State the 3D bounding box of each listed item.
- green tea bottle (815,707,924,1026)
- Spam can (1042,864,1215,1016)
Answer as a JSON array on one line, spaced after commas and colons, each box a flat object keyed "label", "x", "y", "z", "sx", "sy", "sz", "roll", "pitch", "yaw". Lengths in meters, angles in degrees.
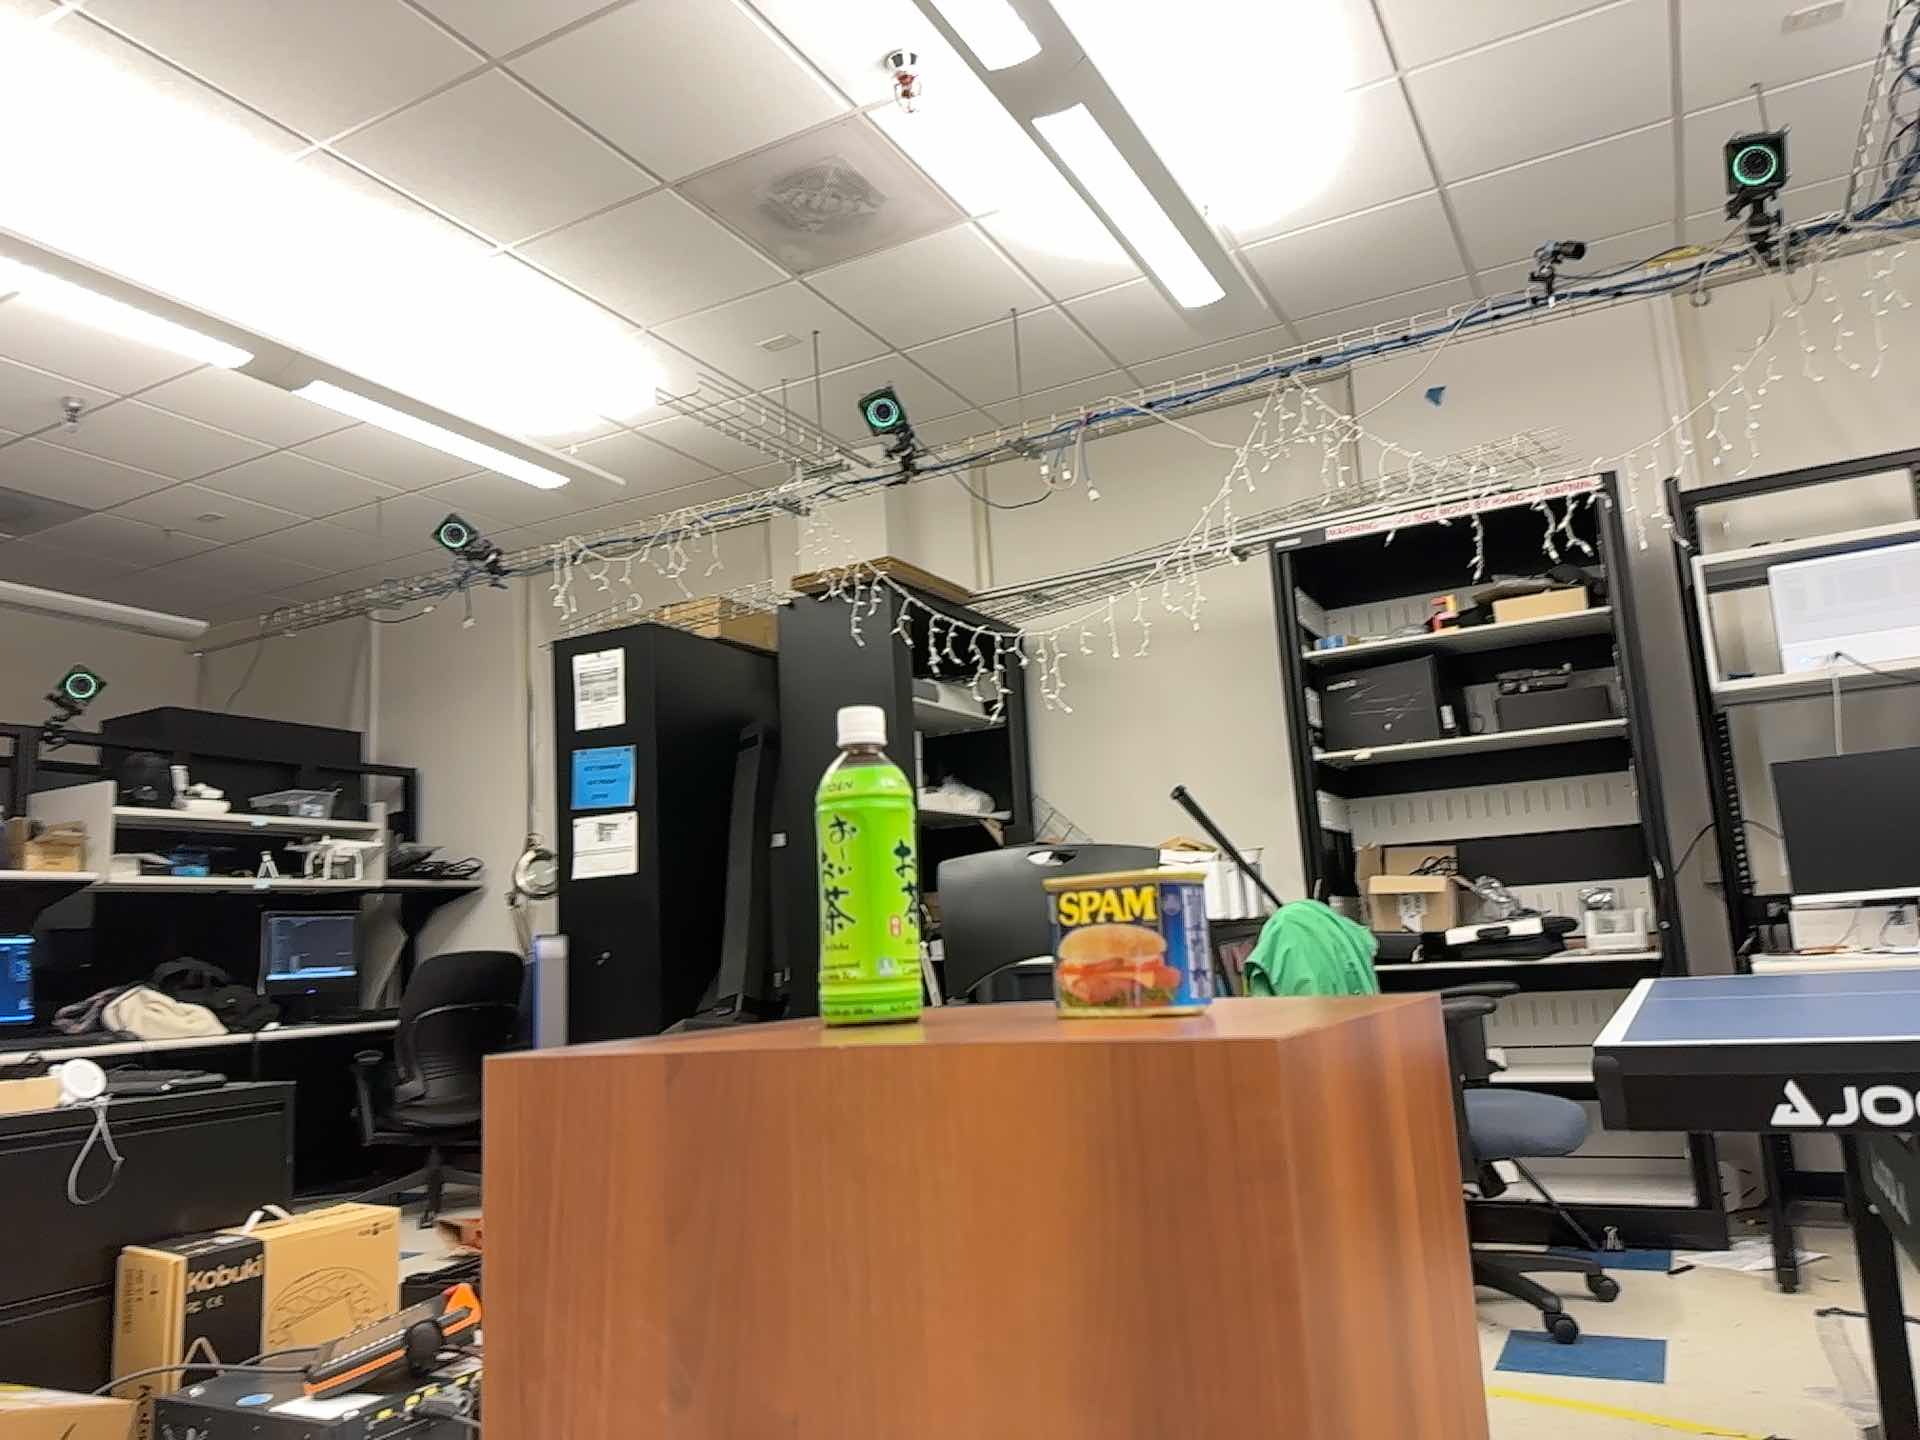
[{"label": "green tea bottle", "x": -0.064, "y": 0.097, "z": 0.906, "sx": 0.073, "sy": 0.212, "sz": 0.073, "roll": -4, "pitch": -14, "yaw": -1}, {"label": "Spam can", "x": 0.104, "y": 0.137, "z": 0.828, "sx": 0.100, "sy": 0.083, "sz": 0.056, "roll": -12, "pitch": -15, "yaw": 36}]
